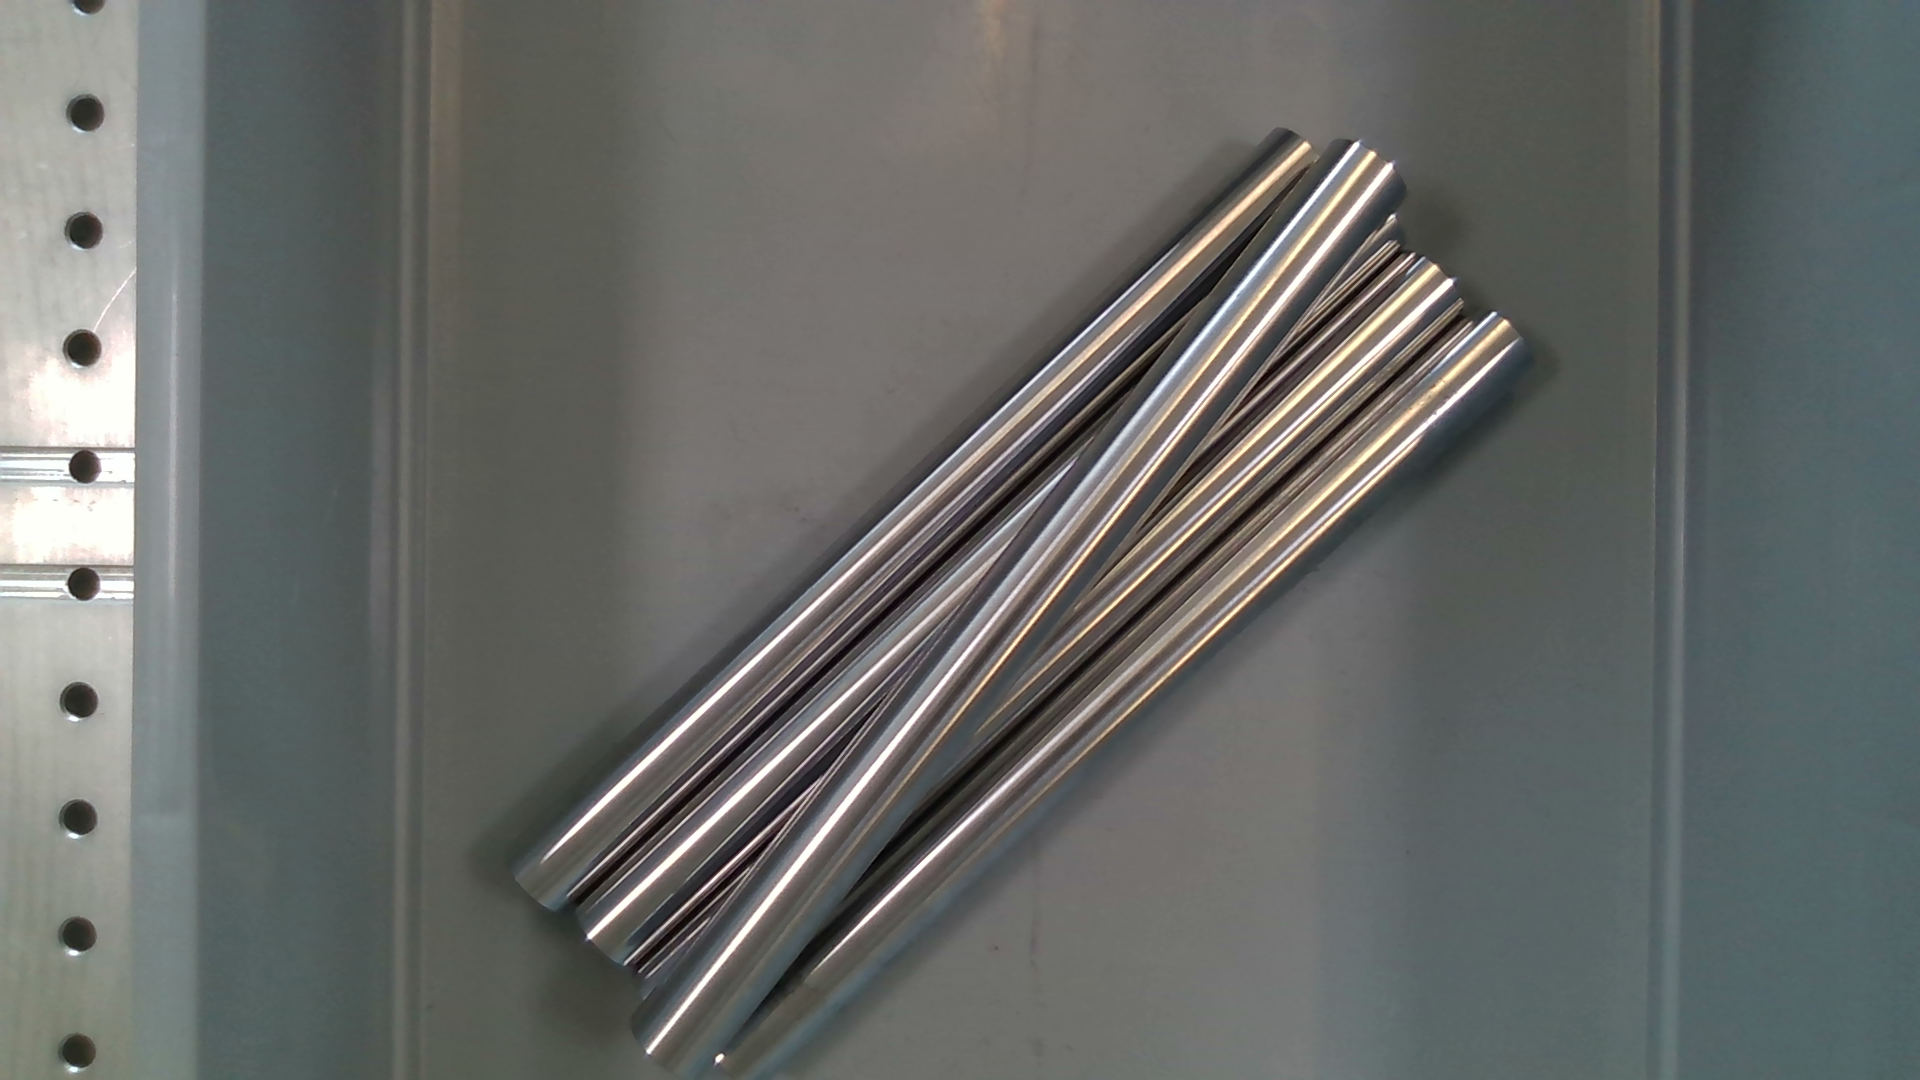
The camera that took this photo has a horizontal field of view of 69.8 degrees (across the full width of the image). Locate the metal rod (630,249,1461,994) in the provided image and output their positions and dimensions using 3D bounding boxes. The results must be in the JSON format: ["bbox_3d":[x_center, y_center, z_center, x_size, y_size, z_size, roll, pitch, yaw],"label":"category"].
[{"bbox_3d":[0.024,0.028,0.395,0.300,0.025,0.025,-43,90,0],"label":"metal rod"}]

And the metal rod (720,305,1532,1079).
[{"bbox_3d":[0.044,0.044,0.395,0.300,0.025,0.025,-43,90,0],"label":"metal rod"}]

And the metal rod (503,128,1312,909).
[{"bbox_3d":[-0.012,-0.006,0.394,0.300,0.025,0.025,-43,90,0],"label":"metal rod"}]

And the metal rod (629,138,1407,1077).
[{"bbox_3d":[0.015,0.018,0.369,0.025,0.025,0.300,39,90,0],"label":"metal rod"}]

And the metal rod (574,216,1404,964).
[{"bbox_3d":[0.008,0.010,0.395,0.300,0.025,0.025,-43,90,0],"label":"metal rod"}]
